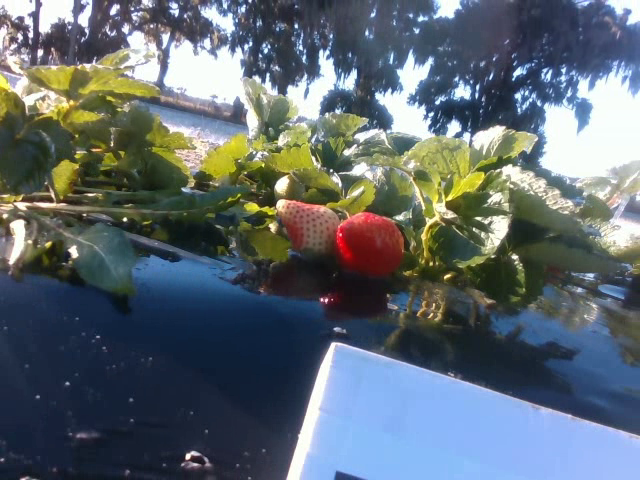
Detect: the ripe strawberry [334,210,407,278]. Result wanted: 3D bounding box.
[{"bbox_3d":[0.024,-0.004,0.299,0.040,0.038,0.056,-14,-38,9],"label":"ripe strawberry"}]
